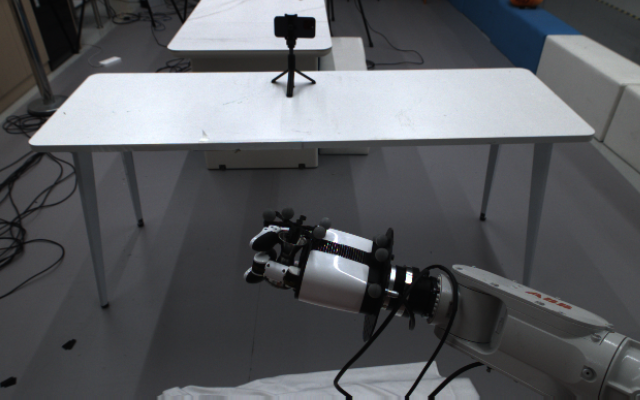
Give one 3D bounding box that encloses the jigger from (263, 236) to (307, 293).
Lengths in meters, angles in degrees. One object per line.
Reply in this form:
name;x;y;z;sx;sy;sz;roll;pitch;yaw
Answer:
jigger;-0.043;0.082;0.668;0.043;0.071;0.043;15;17;-5
